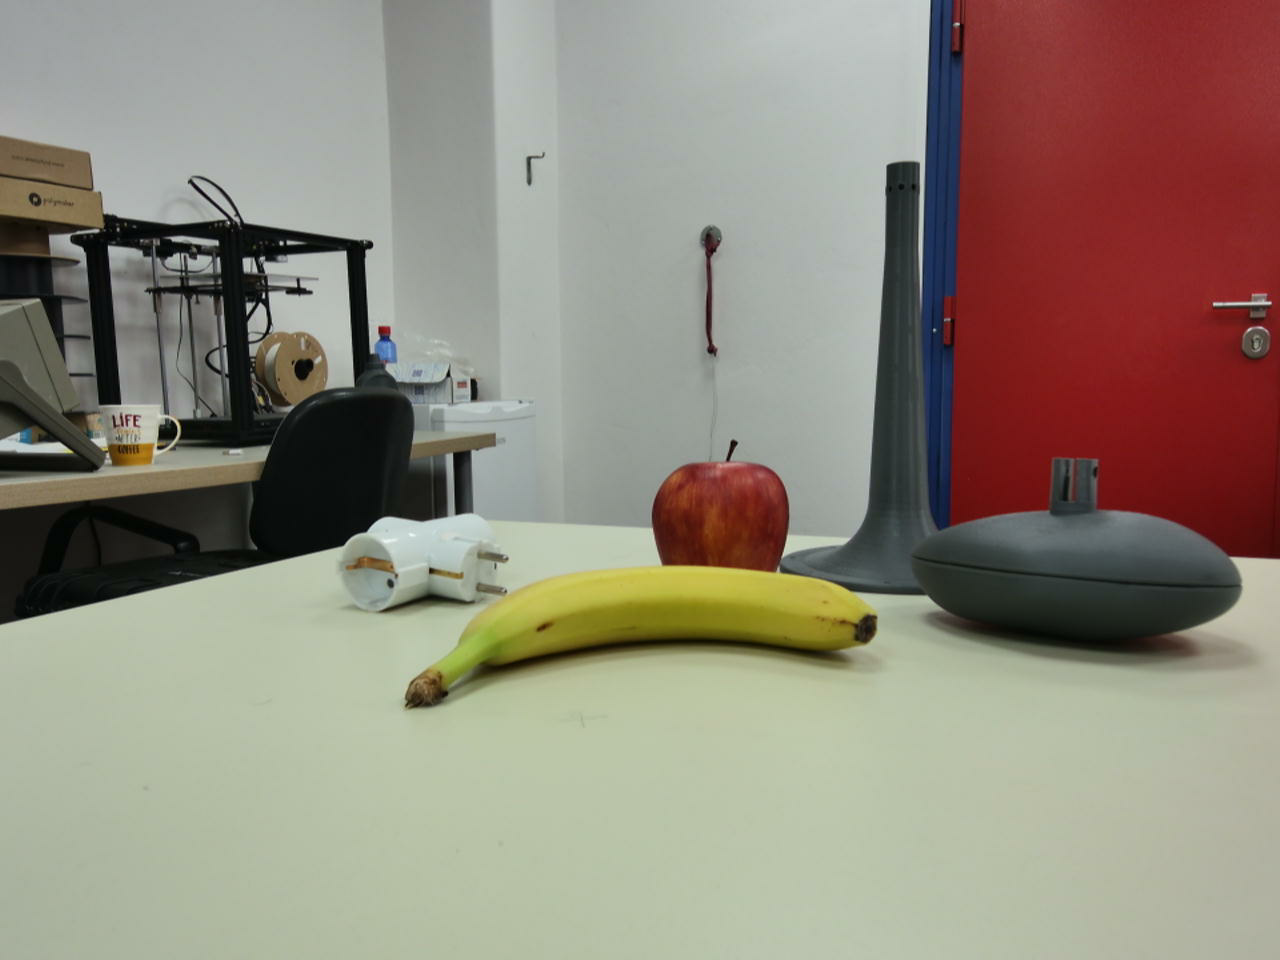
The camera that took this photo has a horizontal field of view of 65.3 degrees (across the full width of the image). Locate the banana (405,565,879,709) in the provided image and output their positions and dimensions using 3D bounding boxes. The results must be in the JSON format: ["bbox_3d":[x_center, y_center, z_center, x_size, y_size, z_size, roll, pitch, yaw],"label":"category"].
[{"bbox_3d":[-0.002,0.062,0.443,0.196,0.041,0.094,-1,4,-11],"label":"banana"}]
